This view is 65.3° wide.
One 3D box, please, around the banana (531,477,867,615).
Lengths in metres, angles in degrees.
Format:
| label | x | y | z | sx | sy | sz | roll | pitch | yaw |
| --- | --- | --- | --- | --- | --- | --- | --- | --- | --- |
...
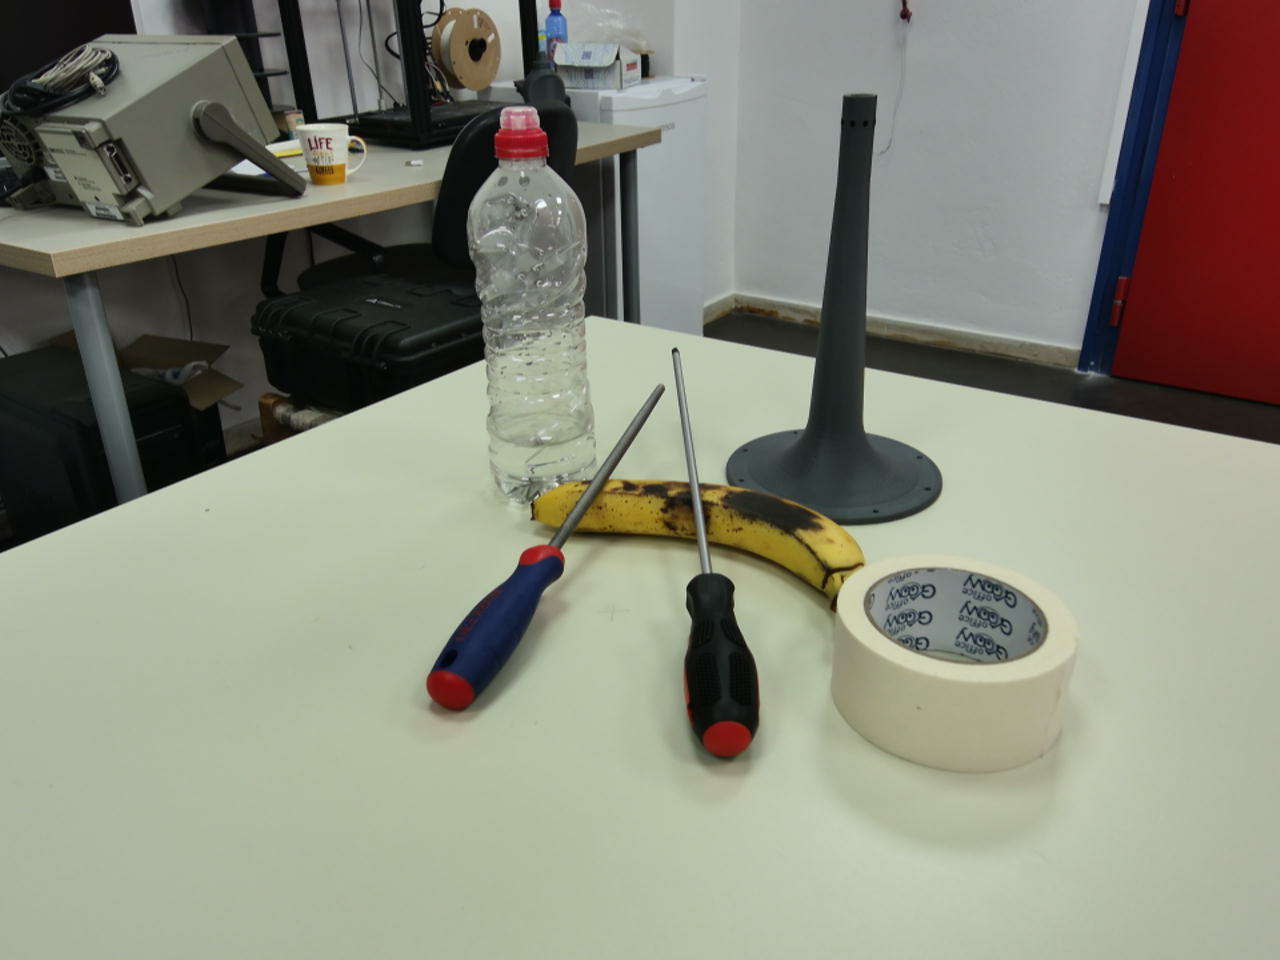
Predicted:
| label | x | y | z | sx | sy | sz | roll | pitch | yaw |
| --- | --- | --- | --- | --- | --- | --- | --- | --- | --- |
| banana | 0.042 | 0.028 | 0.598 | 0.222 | 0.037 | 0.084 | 17 | 30 | 33 |
